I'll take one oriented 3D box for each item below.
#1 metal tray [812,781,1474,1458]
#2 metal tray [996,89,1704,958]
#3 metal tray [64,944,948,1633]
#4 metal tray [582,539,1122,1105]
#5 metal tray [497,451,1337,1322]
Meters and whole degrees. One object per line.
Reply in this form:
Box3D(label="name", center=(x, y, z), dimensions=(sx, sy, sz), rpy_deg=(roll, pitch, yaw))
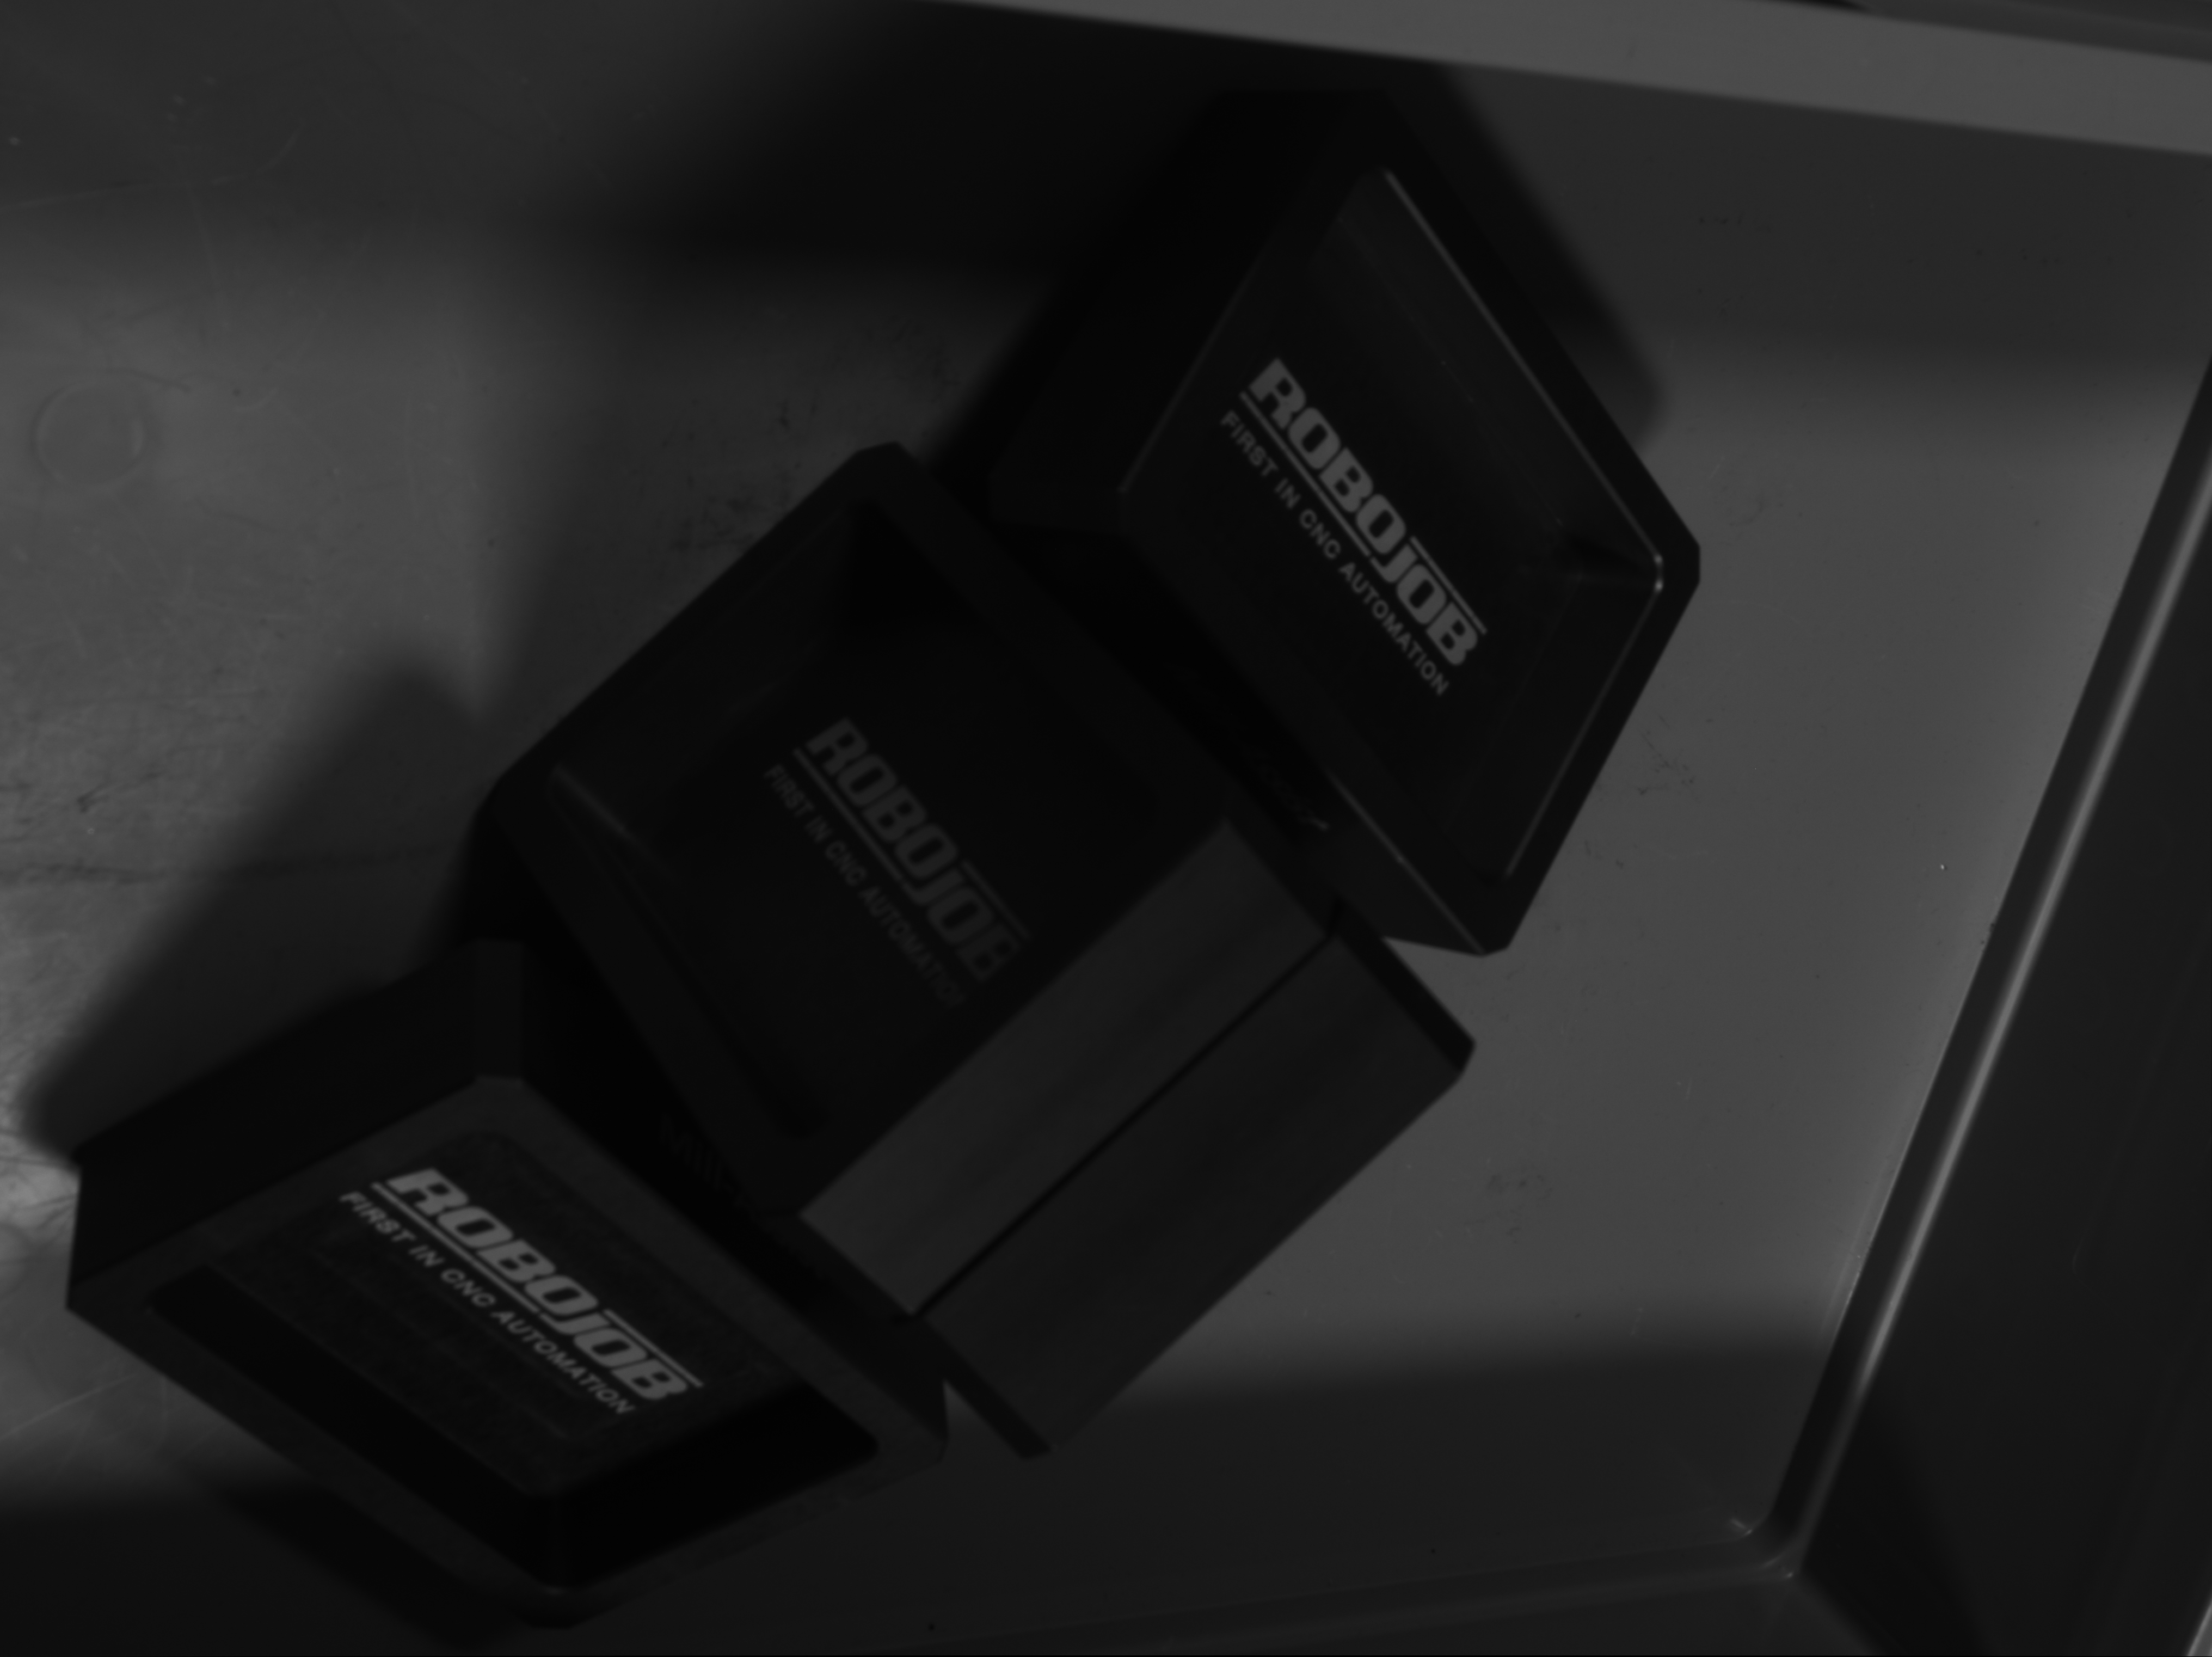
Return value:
Box3D(label="metal tray", center=(-0.001, 0.039, 0.589), dimensions=(0.090, 0.130, 0.030), rpy_deg=(-43, 107, -1))
Box3D(label="metal tray", center=(0.046, -0.050, 0.619), dimensions=(0.130, 0.030, 0.090), rpy_deg=(47, 65, -40))
Box3D(label="metal tray", center=(-0.098, 0.082, 0.617), dimensions=(0.090, 0.030, 0.130), rpy_deg=(-26, 133, 18))
Box3D(label="metal tray", center=(-0.020, 0.020, 0.646), dimensions=(0.130, 0.030, 0.090), rpy_deg=(-43, 130, 0))
Box3D(label="metal tray", center=(-0.033, 0.004, 0.562), dimensions=(0.090, 0.130, 0.030), rpy_deg=(-42, 130, 0))
